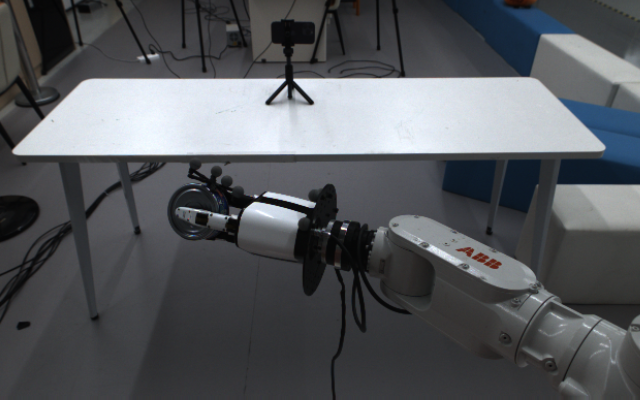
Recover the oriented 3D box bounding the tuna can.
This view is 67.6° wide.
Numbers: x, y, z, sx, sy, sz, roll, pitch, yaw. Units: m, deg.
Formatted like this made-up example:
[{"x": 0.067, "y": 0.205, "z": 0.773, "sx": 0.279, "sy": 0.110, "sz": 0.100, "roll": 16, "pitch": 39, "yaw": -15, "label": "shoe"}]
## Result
[{"x": -0.180, "y": 0.018, "z": 0.715, "sx": 0.085, "sy": 0.085, "sz": 0.034, "roll": 12, "pitch": 4, "yaw": 14, "label": "tuna can"}]
